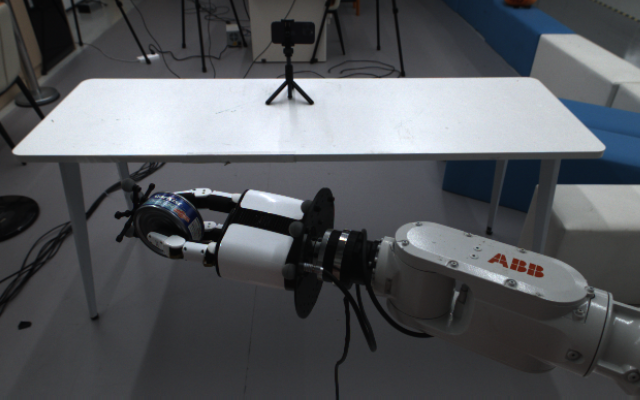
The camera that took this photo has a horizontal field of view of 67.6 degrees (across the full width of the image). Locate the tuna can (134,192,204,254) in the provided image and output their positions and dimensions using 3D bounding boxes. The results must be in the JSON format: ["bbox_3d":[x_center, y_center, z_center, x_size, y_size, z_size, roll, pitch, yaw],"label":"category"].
[{"bbox_3d":[-0.193,0.032,0.623,0.085,0.085,0.034,11,36,13],"label":"tuna can"}]
